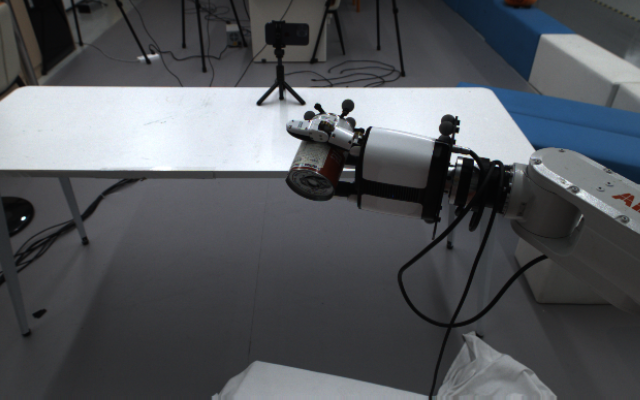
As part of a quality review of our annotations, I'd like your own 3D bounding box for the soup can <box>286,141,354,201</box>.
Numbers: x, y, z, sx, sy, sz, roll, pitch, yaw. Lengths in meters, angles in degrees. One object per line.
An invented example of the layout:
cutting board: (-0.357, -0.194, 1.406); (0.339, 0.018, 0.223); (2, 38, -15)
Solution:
soup can: (0.002, -0.060, 0.652); (0.067, 0.067, 0.101); (12, 59, 14)
